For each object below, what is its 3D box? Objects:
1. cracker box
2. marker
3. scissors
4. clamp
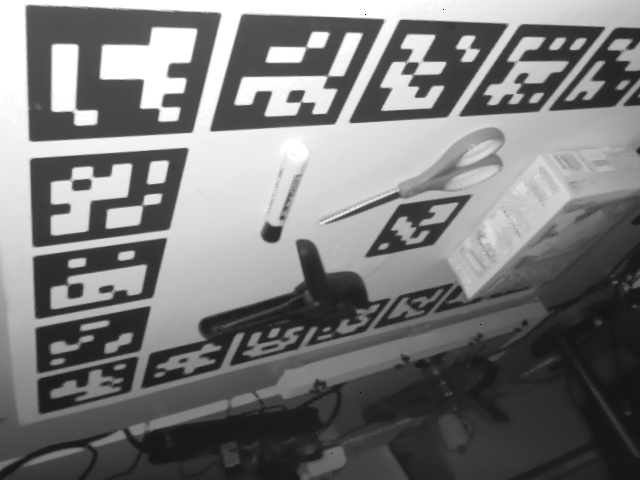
[{"bbox_3d":[0.288,-0.020,0.809,0.167,0.072,0.210,-6,145,-31],"label":"cracker box"},{"bbox_3d":[-0.020,-0.054,0.571,0.020,0.019,0.119,-9,147,-26],"label":"marker"},{"bbox_3d":[0.102,-0.065,0.647,0.203,0.016,0.087,-20,152,-4],"label":"scissors"},{"bbox_3d":[-0.006,0.048,0.757,0.163,0.037,0.205,-37,148,23],"label":"clamp"}]
